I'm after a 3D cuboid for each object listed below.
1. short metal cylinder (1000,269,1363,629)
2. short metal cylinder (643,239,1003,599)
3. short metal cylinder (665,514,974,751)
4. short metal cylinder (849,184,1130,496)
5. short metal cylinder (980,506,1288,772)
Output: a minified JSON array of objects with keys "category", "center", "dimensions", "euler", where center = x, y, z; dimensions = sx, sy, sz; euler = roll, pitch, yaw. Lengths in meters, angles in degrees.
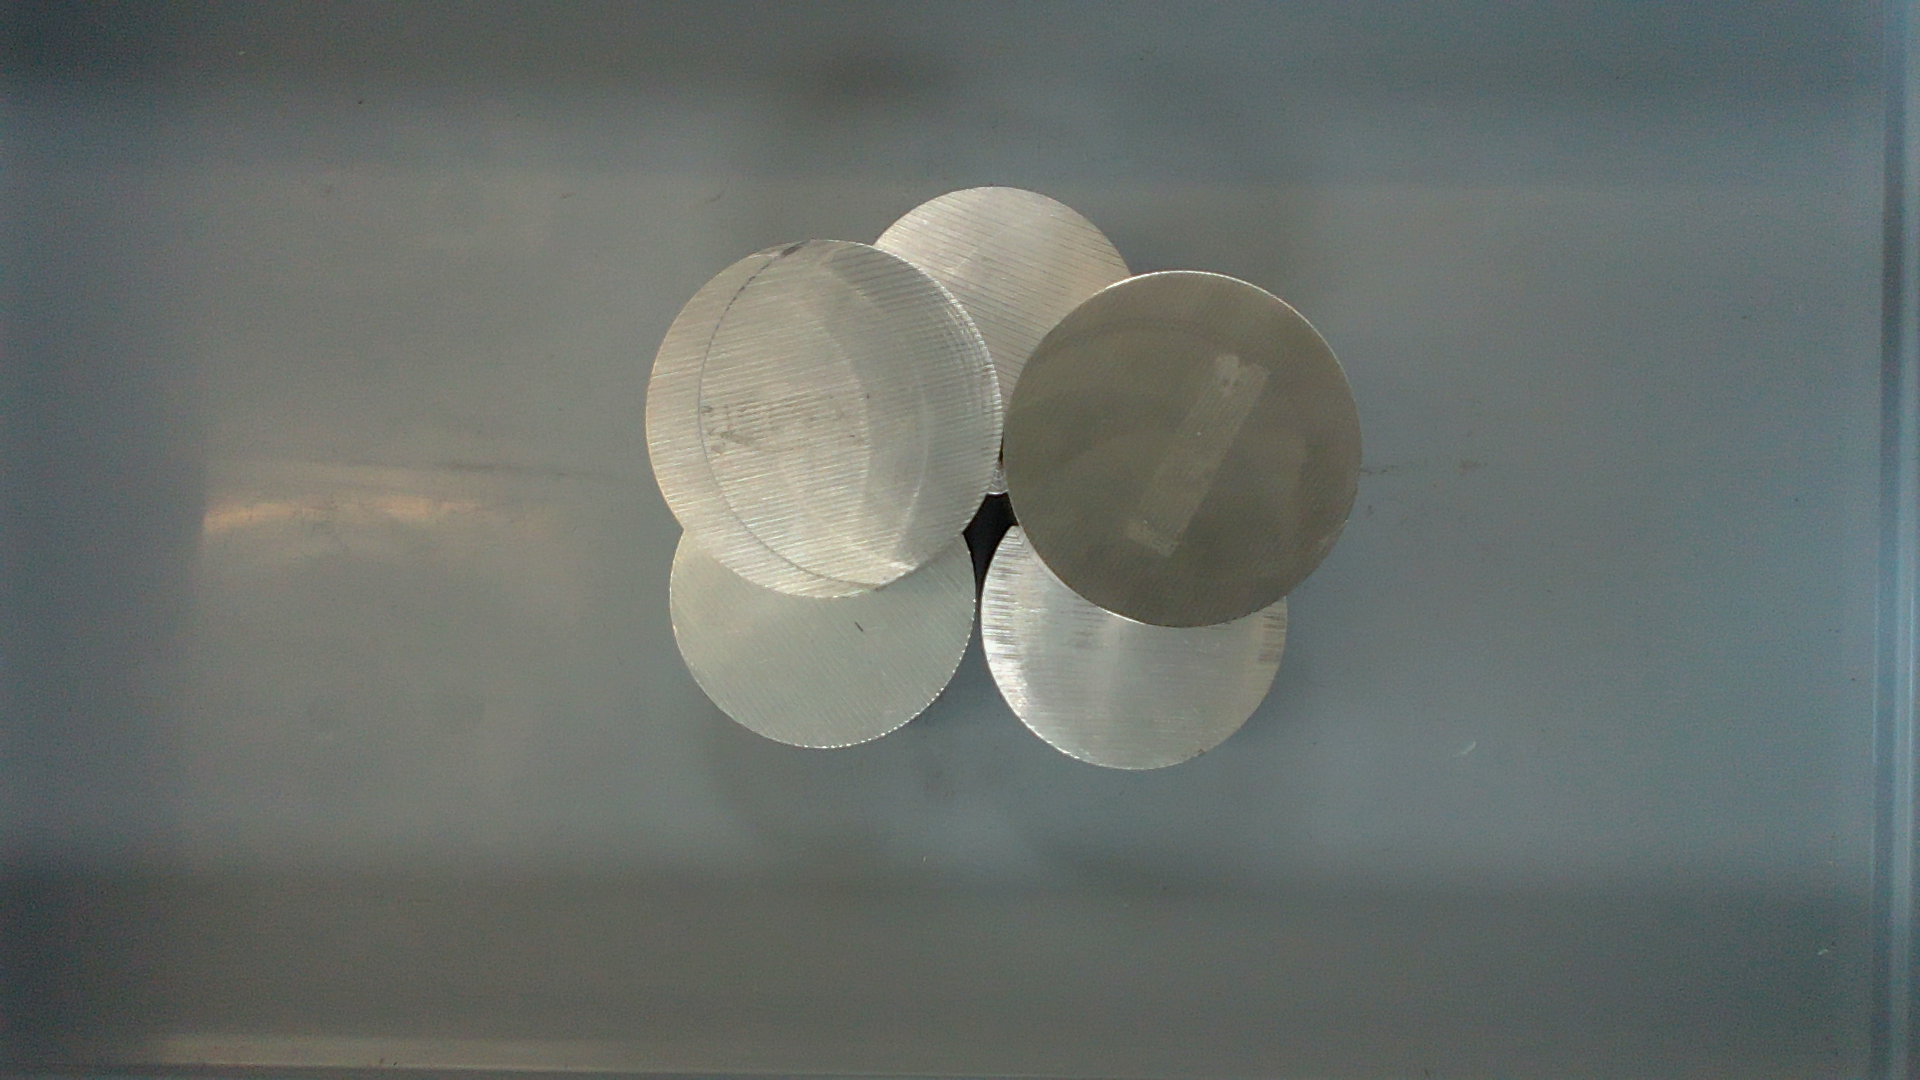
[{"category":"short metal cylinder","center":[0.050,-0.020,0.331],"dimensions":[0.080,0.050,0.080],"euler":[0,90,0]},{"category":"short metal cylinder","center":[-0.030,-0.027,0.331],"dimensions":[0.080,0.050,0.080],"euler":[0,90,0]},{"category":"short metal cylinder","center":[-0.036,0.014,0.381],"dimensions":[0.080,0.050,0.080],"euler":[0,90,0]},{"category":"short metal cylinder","center":[0.008,-0.052,0.382],"dimensions":[0.080,0.050,0.080],"euler":[0,90,0]},{"category":"short metal cylinder","center":[0.045,0.020,0.382],"dimensions":[0.080,0.050,0.080],"euler":[0,90,0]}]
